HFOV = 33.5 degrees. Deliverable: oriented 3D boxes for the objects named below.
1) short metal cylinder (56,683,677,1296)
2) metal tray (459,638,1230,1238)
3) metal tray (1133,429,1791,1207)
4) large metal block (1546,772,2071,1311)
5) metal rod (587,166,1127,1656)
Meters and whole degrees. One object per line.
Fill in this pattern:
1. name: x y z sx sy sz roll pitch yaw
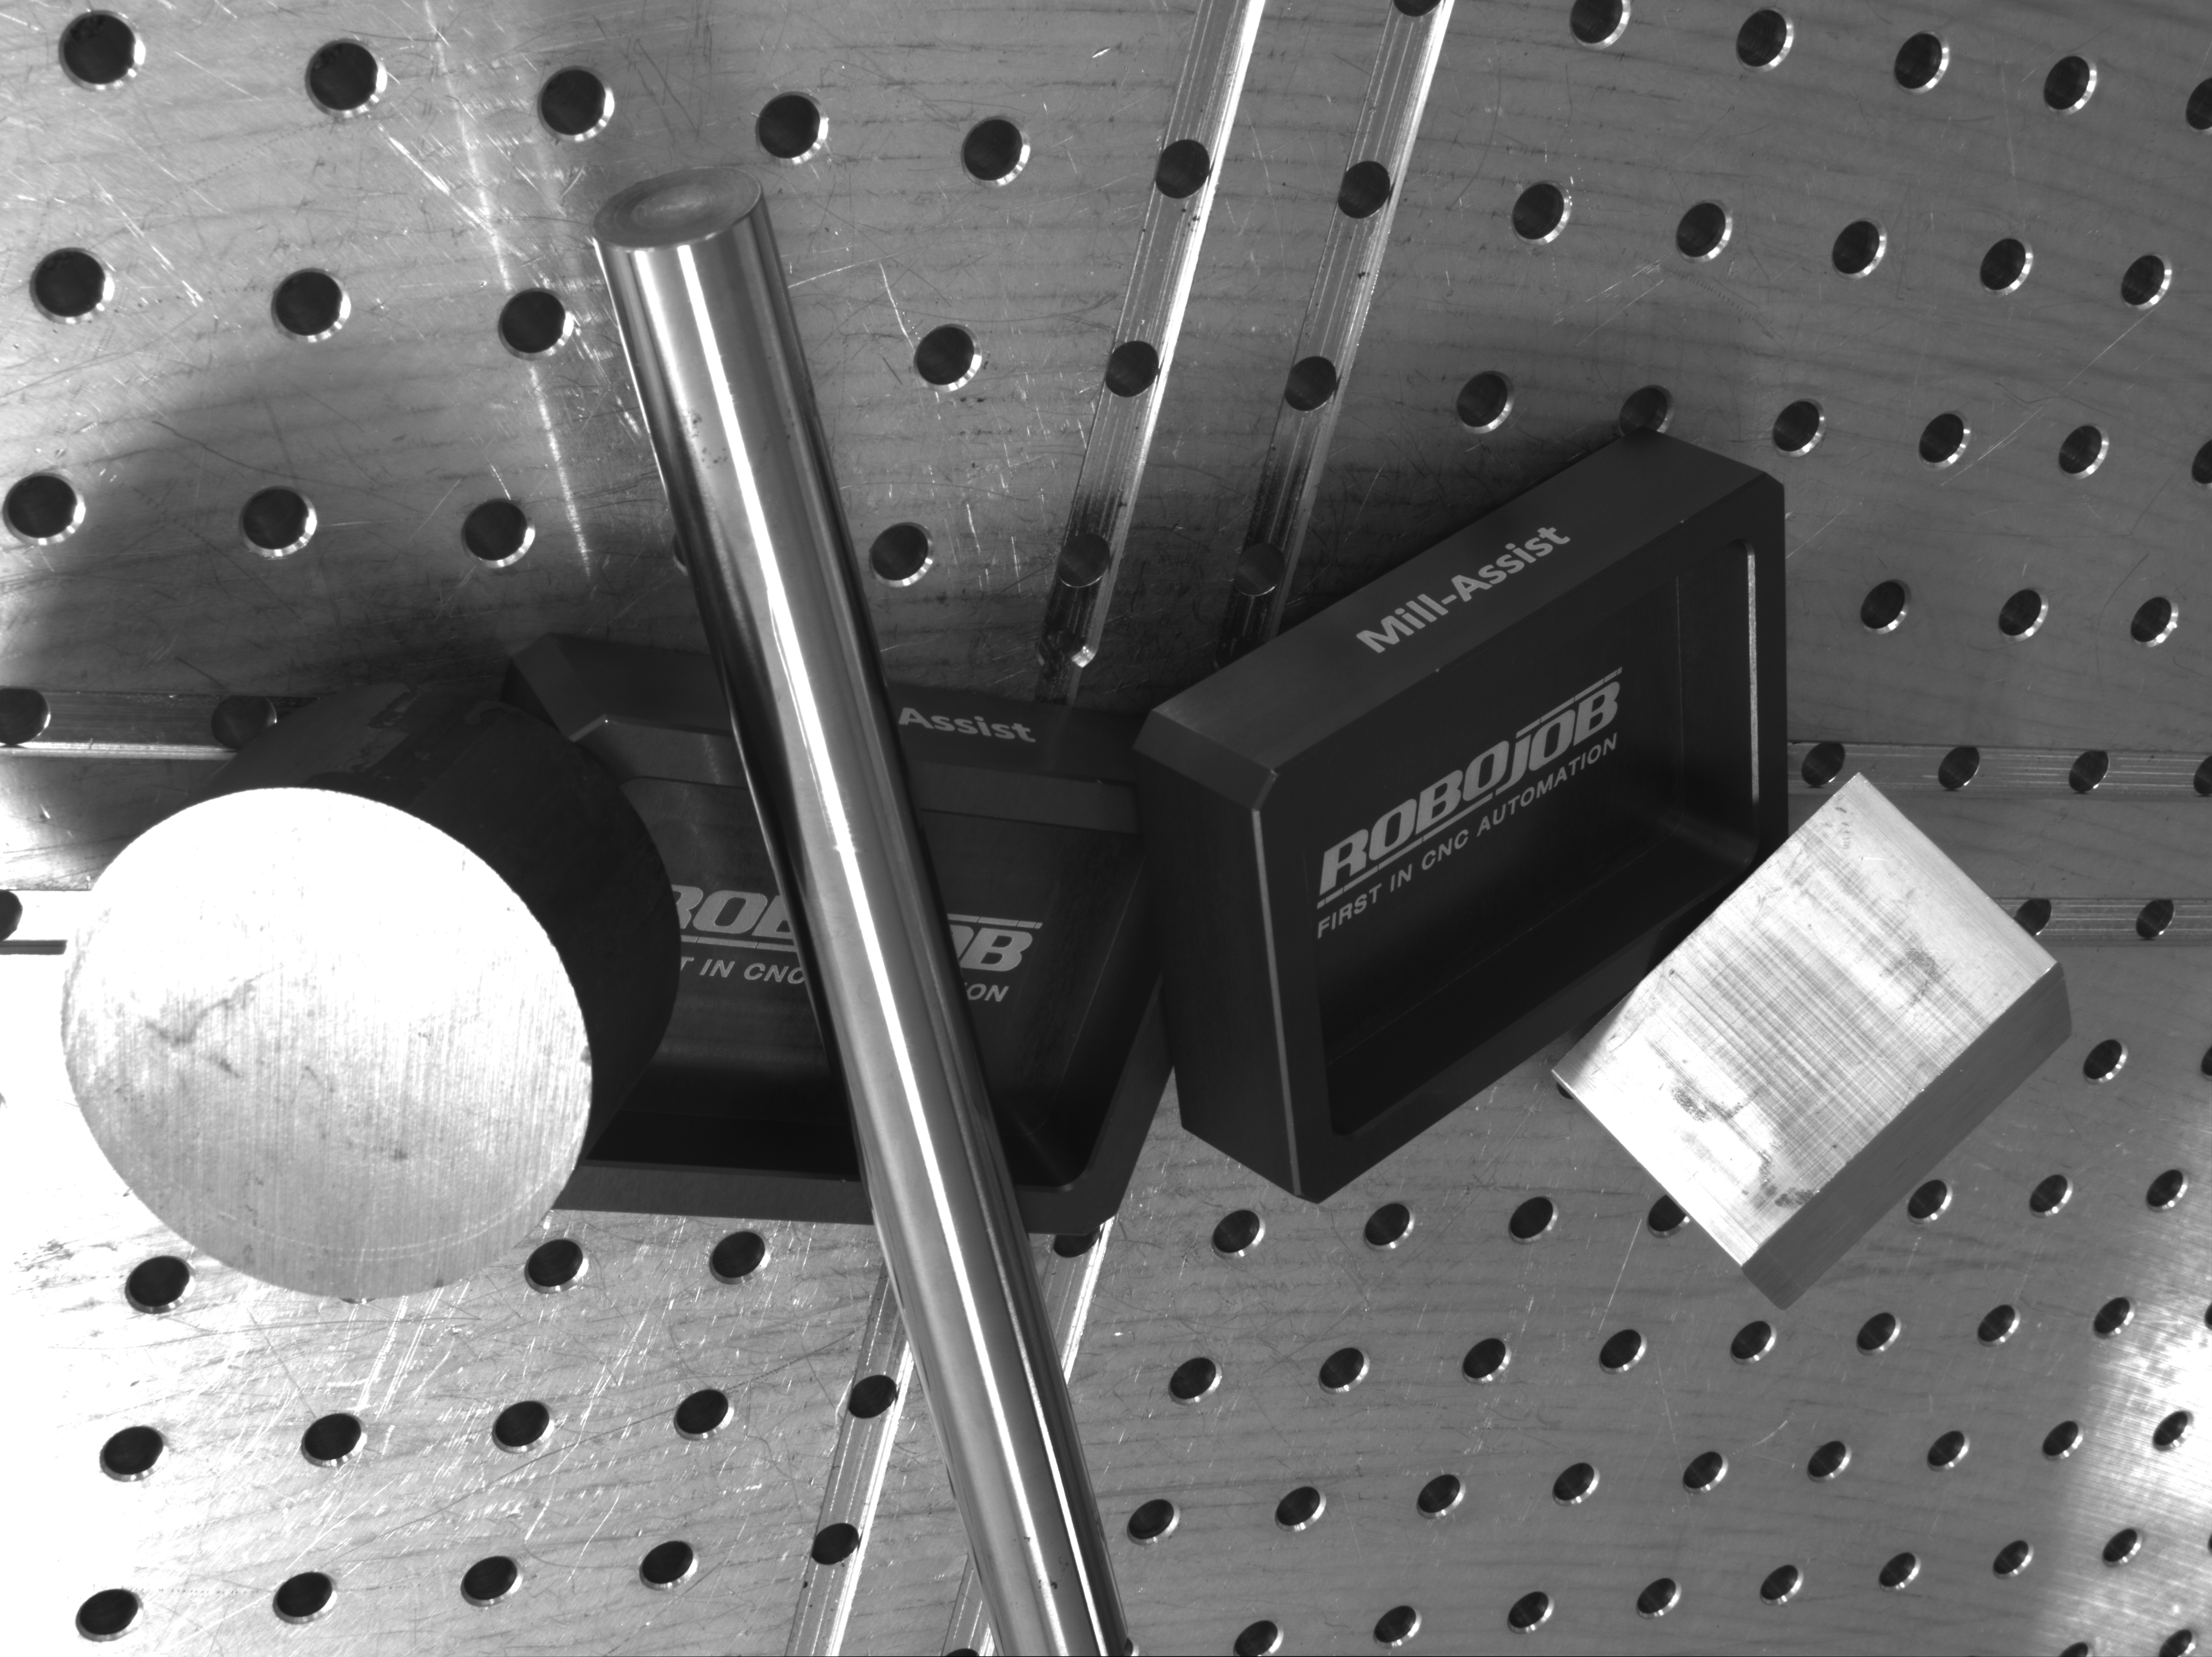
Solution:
1. short metal cylinder: -0.110 0.024 0.557 0.080 0.050 0.080 3 110 8
2. metal tray: -0.046 0.022 0.625 0.130 0.030 0.090 7 115 -31
3. metal tray: 0.067 -0.003 0.647 0.130 0.030 0.090 -31 130 -30
4. large metal block: 0.136 0.043 0.702 0.080 0.050 0.080 -44 160 2
5. metal rod: -0.035 0.032 0.603 0.025 0.025 0.300 -23 127 -14
